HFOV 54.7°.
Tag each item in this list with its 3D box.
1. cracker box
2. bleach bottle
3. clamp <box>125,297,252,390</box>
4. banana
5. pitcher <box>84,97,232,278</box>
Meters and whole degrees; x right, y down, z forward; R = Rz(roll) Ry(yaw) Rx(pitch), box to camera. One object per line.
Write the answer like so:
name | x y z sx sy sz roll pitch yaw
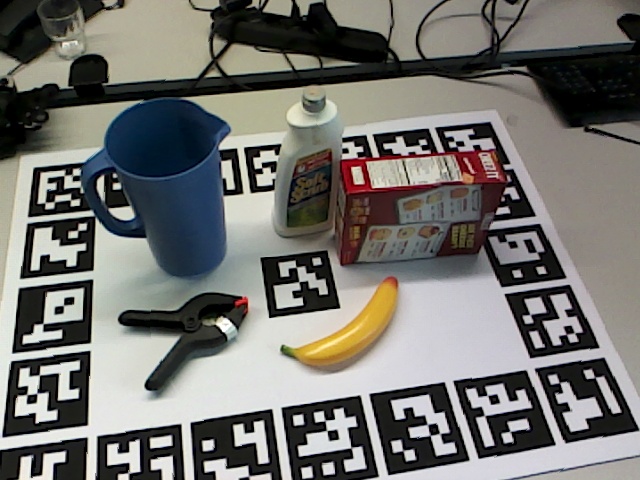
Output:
cracker box | 0.140 -0.042 0.881 0.213 0.164 0.072 -7 50 -5
bleach bottle | -0.024 -0.098 0.886 0.102 0.250 0.068 -8 52 -7
clamp | -0.169 0.124 0.844 0.164 0.036 0.122 -20 54 -18
banana | 0.052 0.119 0.862 0.197 0.039 0.074 -38 61 -26
pitcher | -0.201 -0.054 0.825 0.188 0.242 0.134 -22 55 -20
